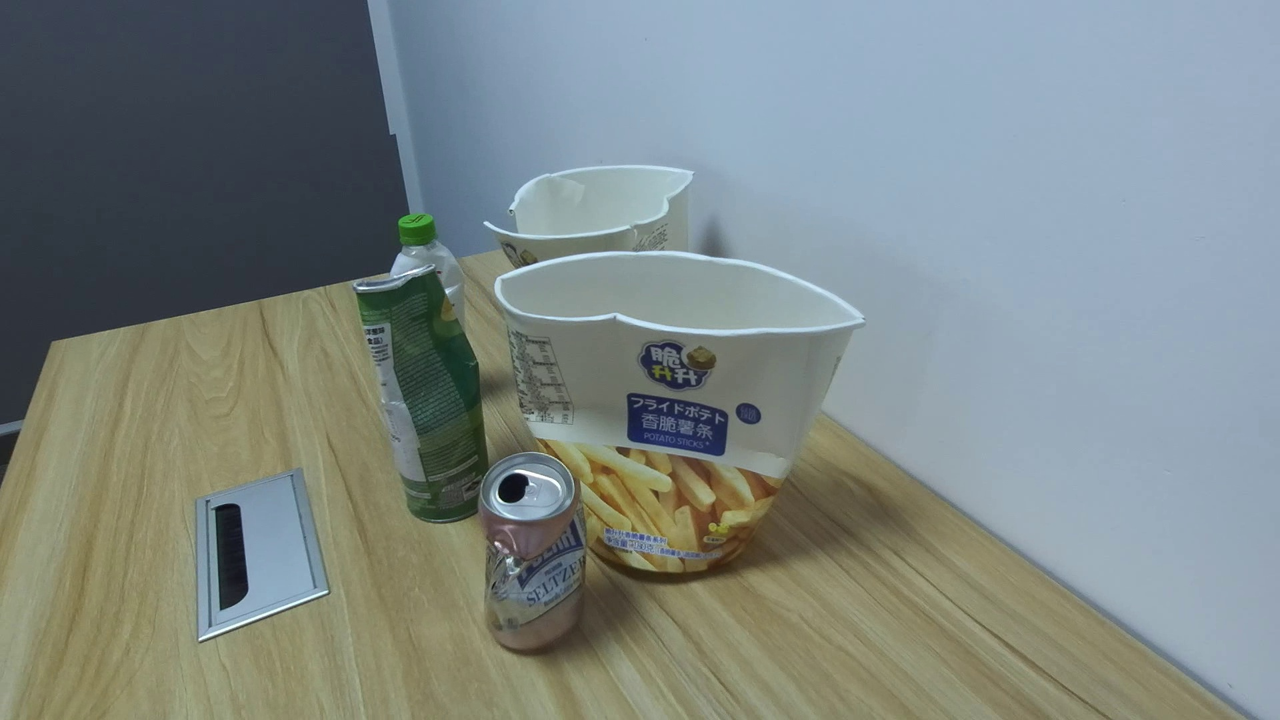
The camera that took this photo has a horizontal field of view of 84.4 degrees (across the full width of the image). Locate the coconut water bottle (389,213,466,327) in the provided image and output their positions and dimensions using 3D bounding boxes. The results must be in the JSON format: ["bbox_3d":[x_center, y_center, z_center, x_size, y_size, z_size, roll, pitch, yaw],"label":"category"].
[{"bbox_3d":[-0.198,-0.051,0.673,0.067,0.187,0.067,2,41,-1],"label":"coconut water bottle"}]

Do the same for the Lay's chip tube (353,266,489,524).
[{"bbox_3d":[-0.165,0.024,0.544,0.079,0.199,0.070,-22,30,-35],"label":"Lay's chip tube"}]

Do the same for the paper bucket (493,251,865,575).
[{"bbox_3d":[0.022,0.036,0.505,0.218,0.199,0.147,-10,33,-11],"label":"paper bucket"}]

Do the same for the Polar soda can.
[{"bbox_3d":[-0.068,0.124,0.446,0.066,0.122,0.071,3,31,-1],"label":"Polar soda can"}]

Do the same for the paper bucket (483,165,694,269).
[{"bbox_3d":[-0.031,-0.069,0.679,0.145,0.197,0.203,4,31,14],"label":"paper bucket"}]
